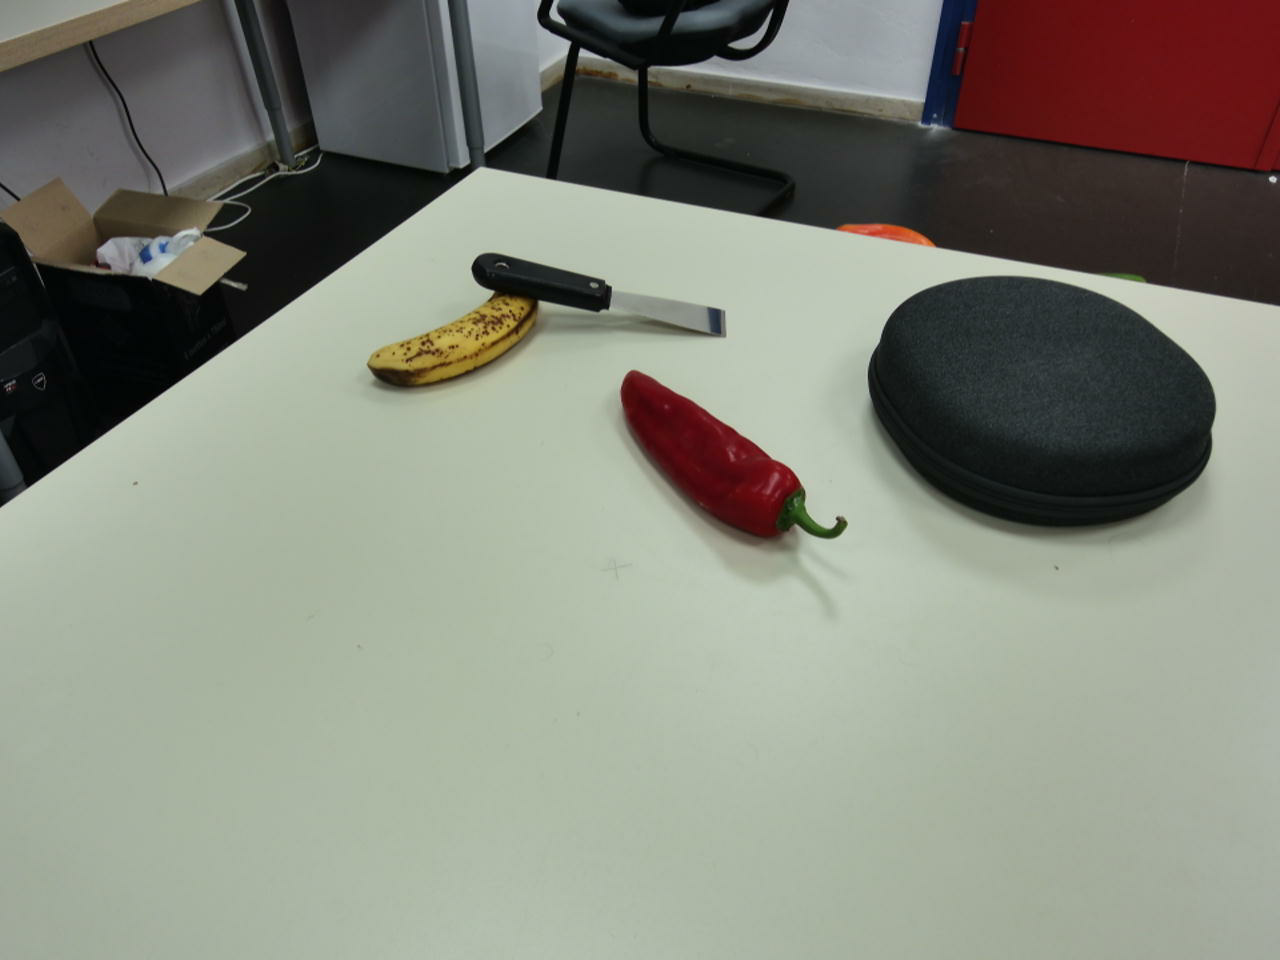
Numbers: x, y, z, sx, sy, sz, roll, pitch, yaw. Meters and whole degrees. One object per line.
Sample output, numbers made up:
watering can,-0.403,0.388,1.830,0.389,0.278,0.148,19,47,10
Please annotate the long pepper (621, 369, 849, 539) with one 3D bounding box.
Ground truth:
long pepper,0.042,-0.016,0.601,0.050,0.043,0.211,-22,43,-25
